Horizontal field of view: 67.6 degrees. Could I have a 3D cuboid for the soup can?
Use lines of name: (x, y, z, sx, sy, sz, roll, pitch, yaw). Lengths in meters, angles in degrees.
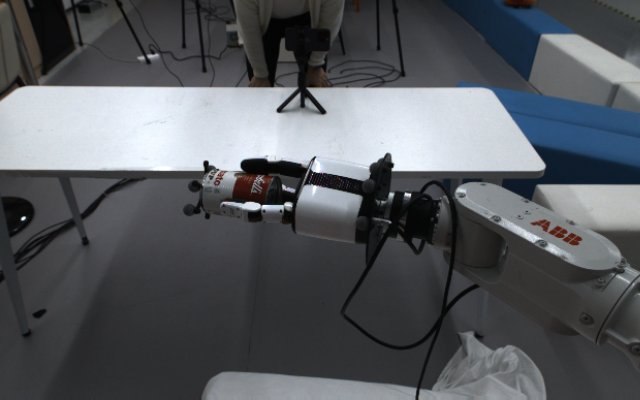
soup can: (-0.111, -0.006, 0.698, 0.101, 0.067, 0.067, 7, 35, 12)
